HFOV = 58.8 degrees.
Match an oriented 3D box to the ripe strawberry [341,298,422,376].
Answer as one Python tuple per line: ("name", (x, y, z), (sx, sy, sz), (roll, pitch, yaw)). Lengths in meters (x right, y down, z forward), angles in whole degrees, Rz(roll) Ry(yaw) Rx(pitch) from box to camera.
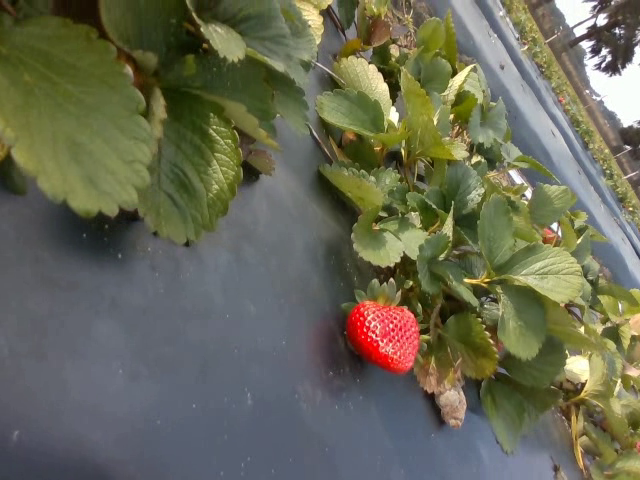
("ripe strawberry", (0.037, 0.054, 0.308), (0.050, 0.046, 0.058), (-32, 29, 11))
